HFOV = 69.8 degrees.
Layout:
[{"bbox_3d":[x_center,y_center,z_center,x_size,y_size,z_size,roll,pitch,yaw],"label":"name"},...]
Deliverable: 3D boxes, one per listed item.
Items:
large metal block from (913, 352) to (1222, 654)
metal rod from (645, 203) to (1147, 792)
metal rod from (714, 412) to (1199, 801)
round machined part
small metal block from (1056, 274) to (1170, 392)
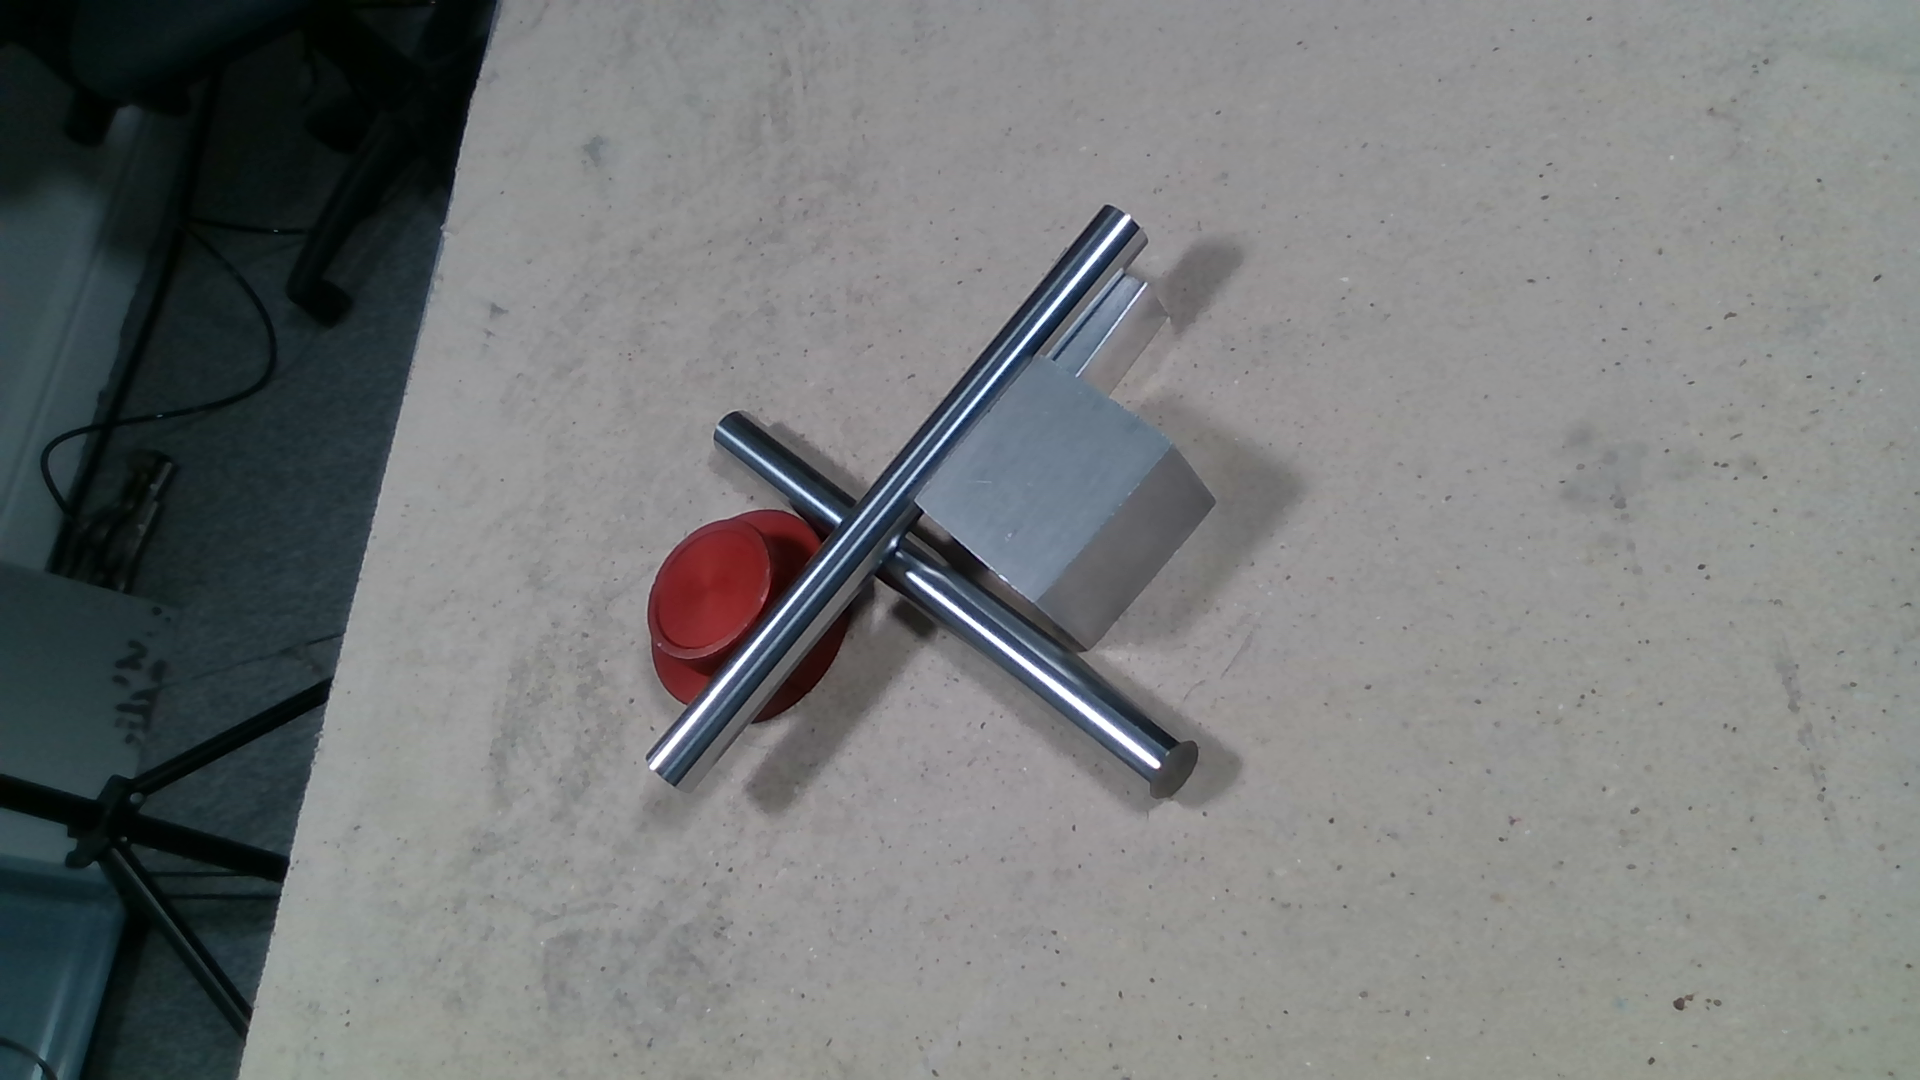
[{"bbox_3d":[0.043,-0.016,0.553,0.080,0.050,0.080,-49,51,0],"label":"large metal block"},{"bbox_3d":[-0.026,-0.018,0.579,0.300,0.025,0.025,-50,51,-1],"label":"metal rod"},{"bbox_3d":[-0.017,0.016,0.590,0.299,0.025,0.025,36,87,39],"label":"metal rod"},{"bbox_3d":[-0.102,0.030,0.621,0.098,0.042,0.098,-14,59,25],"label":"round machined part"},{"bbox_3d":[0.054,-0.094,0.603,0.050,0.025,0.050,34,86,39],"label":"small metal block"}]
